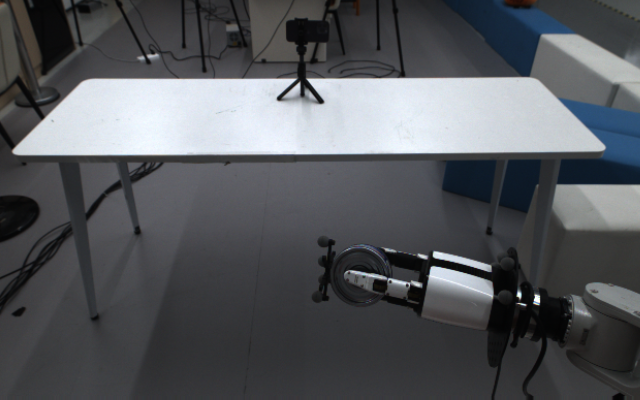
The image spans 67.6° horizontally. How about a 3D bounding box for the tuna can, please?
[{"bbox_3d":[0.060,0.108,0.676,0.085,0.085,0.034,10,2,11],"label":"tuna can"}]
